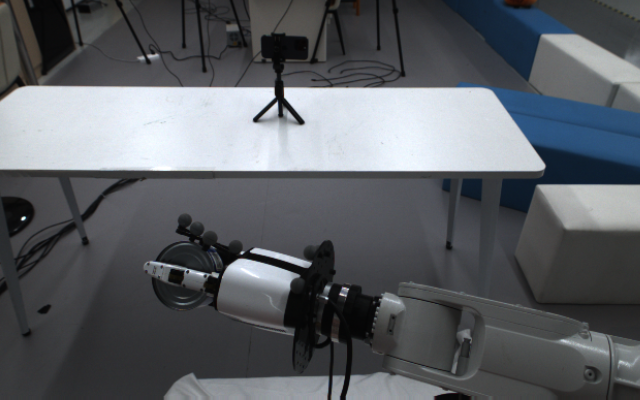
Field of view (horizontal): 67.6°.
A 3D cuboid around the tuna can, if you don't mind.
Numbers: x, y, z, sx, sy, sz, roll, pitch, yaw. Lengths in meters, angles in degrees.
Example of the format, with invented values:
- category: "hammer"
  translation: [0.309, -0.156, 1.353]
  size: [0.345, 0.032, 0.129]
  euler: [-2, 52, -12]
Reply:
- category: "tuna can"
  translation: [-0.162, 0.094, 0.607]
  size: [0.085, 0.085, 0.034]
  euler: [14, -6, 16]
